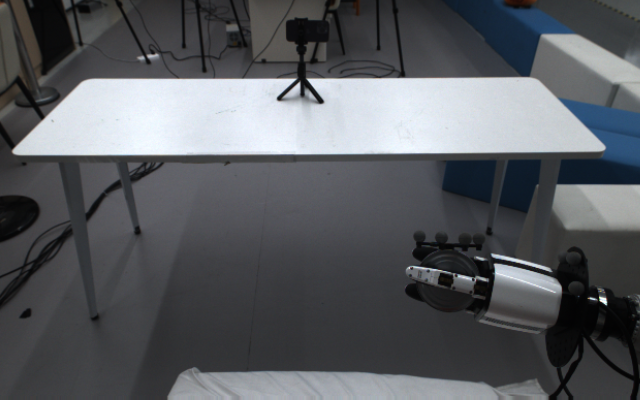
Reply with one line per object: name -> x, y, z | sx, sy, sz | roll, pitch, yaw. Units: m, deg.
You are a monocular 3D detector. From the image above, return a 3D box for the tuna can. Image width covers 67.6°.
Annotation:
tuna can -> 0.178, 0.108, 0.668 | 0.085, 0.085, 0.034 | 14, -3, 16
